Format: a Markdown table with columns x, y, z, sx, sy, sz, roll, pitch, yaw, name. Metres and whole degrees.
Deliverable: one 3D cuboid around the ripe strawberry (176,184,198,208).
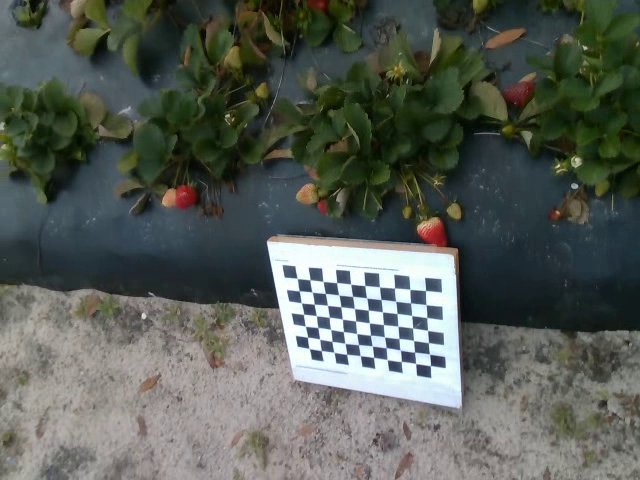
| x | y | z | sx | sy | sz | roll | pitch | yaw | name |
| --- | --- | --- | --- | --- | --- | --- | --- | --- | --- |
| -0.209 | -0.065 | 0.989 | 0.034 | 0.042 | 0.033 | 32 | -24 | 8 | ripe strawberry |
